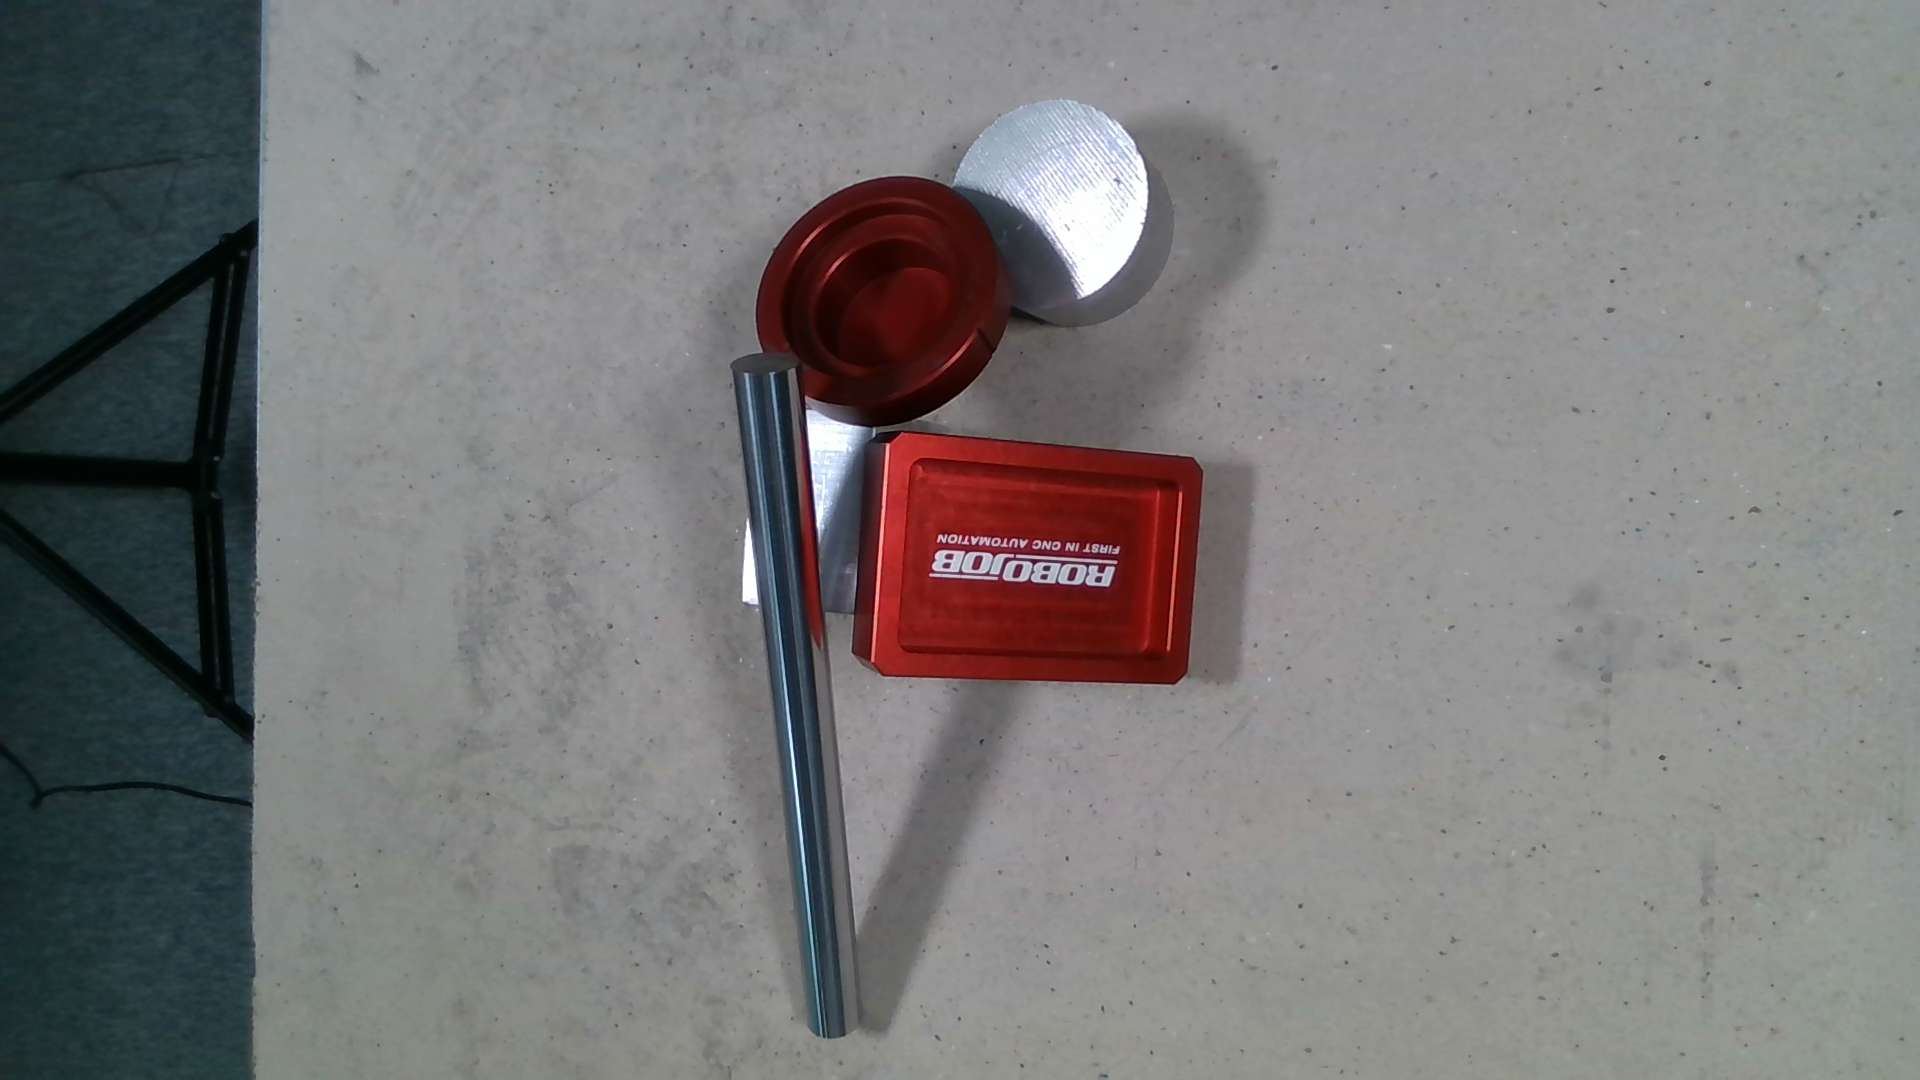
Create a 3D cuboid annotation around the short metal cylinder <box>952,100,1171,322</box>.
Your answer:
[{"bbox_3d":[0.041,-0.130,0.556,0.080,0.050,0.080,0,90,20],"label":"short metal cylinder"}]

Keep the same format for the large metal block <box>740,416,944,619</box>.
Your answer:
[{"bbox_3d":[-0.047,-0.011,0.573,0.050,0.080,0.080,5,92,20],"label":"large metal block"}]

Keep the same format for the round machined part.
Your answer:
[{"bbox_3d":[-0.027,-0.089,0.539,0.098,0.042,0.098,-7,68,17],"label":"round machined part"}]

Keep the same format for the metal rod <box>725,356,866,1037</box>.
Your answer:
[{"bbox_3d":[-0.062,0.075,0.547,0.025,0.025,0.301,6,117,20],"label":"metal rod"}]

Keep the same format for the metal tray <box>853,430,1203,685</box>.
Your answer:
[{"bbox_3d":[0.027,0.008,0.533,0.130,0.030,0.090,4,92,-19],"label":"metal tray"}]
